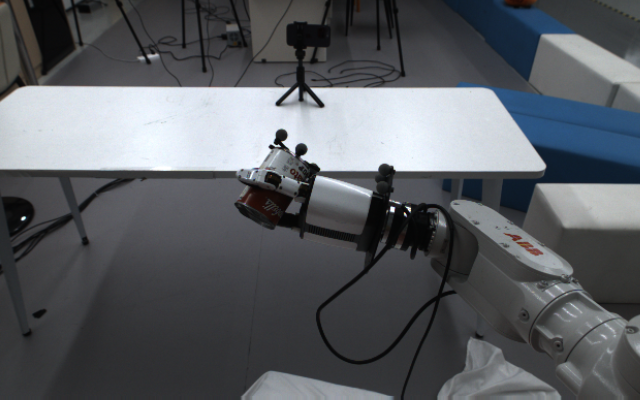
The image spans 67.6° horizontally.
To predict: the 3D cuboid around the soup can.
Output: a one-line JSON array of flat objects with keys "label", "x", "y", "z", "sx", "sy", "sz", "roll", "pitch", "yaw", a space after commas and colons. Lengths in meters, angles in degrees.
[{"label": "soup can", "x": -0.068, "y": -0.017, "z": 0.697, "sx": 0.067, "sy": 0.067, "sz": 0.101, "roll": 24, "pitch": 72, "yaw": 28}]
